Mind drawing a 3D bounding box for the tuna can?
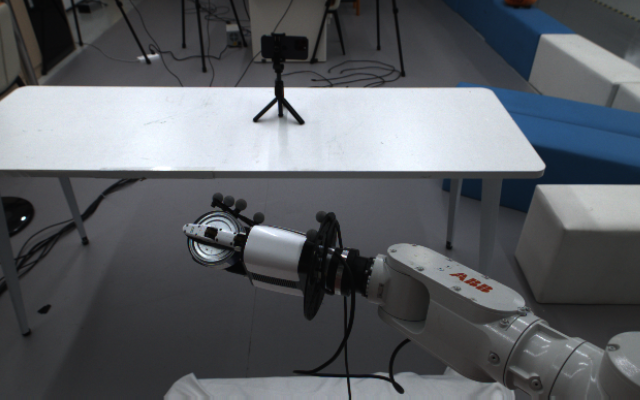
[{"bbox_3d":[-0.154,0.060,0.736,0.085,0.034,0.085,-4,67,10],"label":"tuna can"}]
